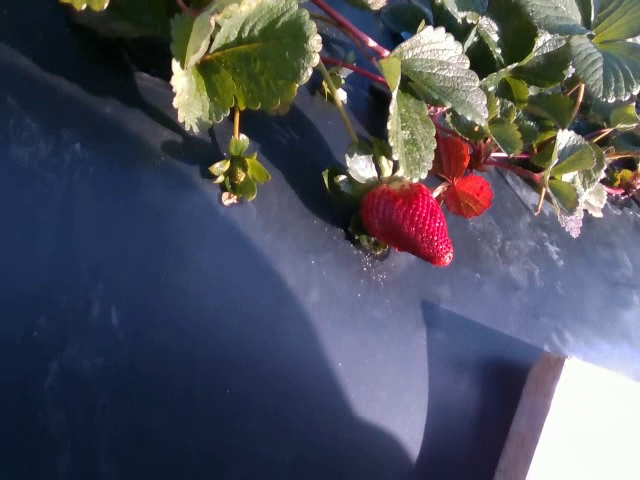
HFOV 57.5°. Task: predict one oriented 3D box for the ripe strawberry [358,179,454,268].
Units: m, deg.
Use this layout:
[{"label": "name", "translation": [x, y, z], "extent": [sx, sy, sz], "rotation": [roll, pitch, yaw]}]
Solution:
[{"label": "ripe strawberry", "translation": [0.044, -0.006, 0.270], "extent": [0.040, 0.056, 0.041], "rotation": [-30, -29, -18]}]
